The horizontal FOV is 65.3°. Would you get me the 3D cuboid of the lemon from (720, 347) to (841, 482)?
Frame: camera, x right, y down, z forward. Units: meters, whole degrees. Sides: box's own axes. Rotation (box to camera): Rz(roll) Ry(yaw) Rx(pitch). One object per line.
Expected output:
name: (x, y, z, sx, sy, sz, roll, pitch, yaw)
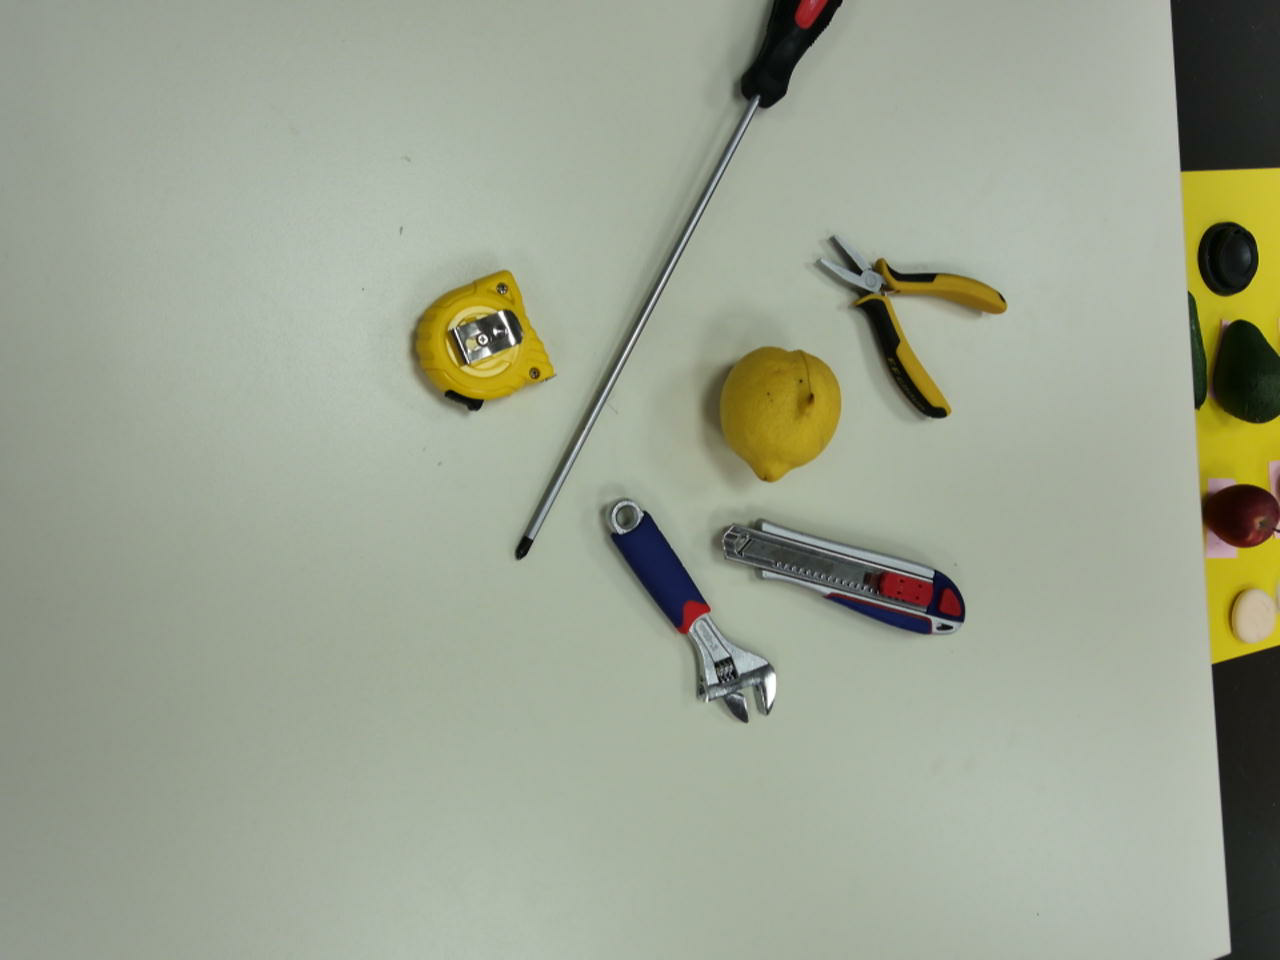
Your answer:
lemon: (0.080, -0.041, 0.567, 0.071, 0.071, 0.070, -41, 105, -16)
